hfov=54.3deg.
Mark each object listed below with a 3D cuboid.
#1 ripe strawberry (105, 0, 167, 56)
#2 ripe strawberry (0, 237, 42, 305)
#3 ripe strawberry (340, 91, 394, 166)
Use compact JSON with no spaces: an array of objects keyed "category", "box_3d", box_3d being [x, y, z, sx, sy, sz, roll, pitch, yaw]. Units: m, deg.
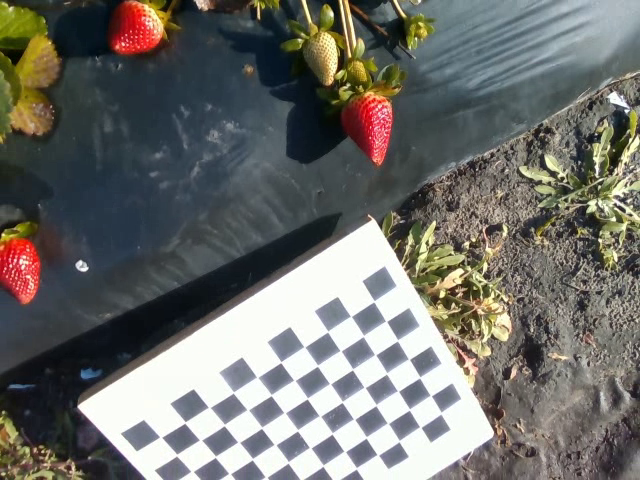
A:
[{"category":"ripe strawberry","box_3d":[-0.119,-0.136,0.401,0.046,0.035,0.035,-36,23,-10]},{"category":"ripe strawberry","box_3d":[-0.215,0.024,0.438,0.045,0.055,0.042,-27,-8,-9]},{"category":"ripe strawberry","box_3d":[0.032,-0.075,0.431,0.042,0.059,0.042,-13,10,-14]}]
